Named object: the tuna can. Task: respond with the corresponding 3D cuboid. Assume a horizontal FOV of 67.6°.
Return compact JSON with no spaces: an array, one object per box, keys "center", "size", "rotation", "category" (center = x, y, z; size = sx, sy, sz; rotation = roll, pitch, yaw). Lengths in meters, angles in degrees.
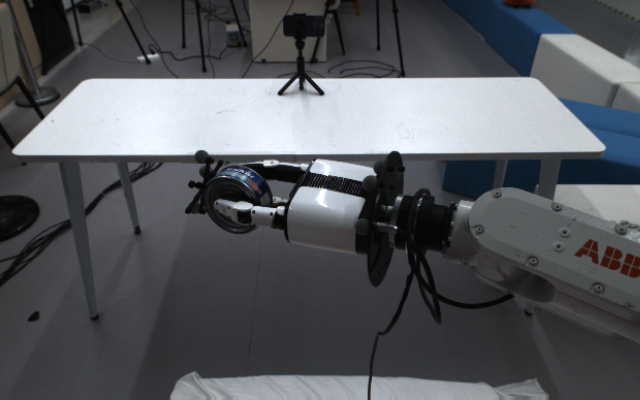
[{"center":[-0.103,0.004,0.617],"size":[0.085,0.085,0.034],"rotation":[12,31,14],"category":"tuna can"}]
